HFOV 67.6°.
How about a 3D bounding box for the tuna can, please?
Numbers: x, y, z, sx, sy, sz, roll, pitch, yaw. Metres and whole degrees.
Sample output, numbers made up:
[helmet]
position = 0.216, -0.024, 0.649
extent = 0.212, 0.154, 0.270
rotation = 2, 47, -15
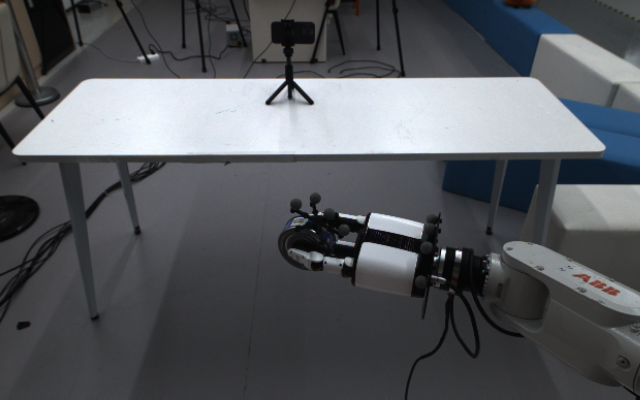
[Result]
[tuna can]
position = -0.019, 0.066, 0.744
extent = 0.085, 0.085, 0.034
rotation = 12, 35, 14
